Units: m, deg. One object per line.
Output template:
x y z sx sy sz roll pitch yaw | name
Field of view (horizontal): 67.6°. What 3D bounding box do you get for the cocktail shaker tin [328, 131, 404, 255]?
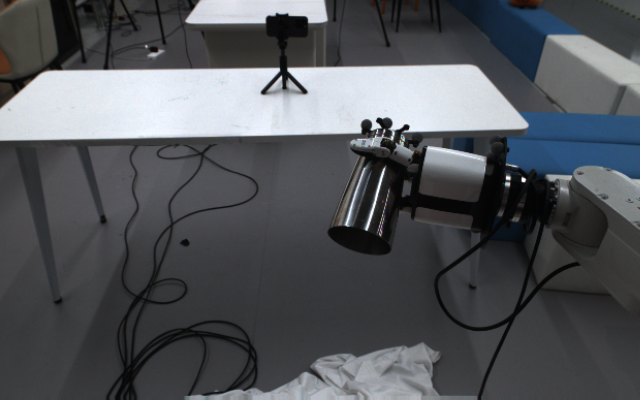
0.081 -0.020 0.700 0.093 0.093 0.170 12 65 15 | cocktail shaker tin
